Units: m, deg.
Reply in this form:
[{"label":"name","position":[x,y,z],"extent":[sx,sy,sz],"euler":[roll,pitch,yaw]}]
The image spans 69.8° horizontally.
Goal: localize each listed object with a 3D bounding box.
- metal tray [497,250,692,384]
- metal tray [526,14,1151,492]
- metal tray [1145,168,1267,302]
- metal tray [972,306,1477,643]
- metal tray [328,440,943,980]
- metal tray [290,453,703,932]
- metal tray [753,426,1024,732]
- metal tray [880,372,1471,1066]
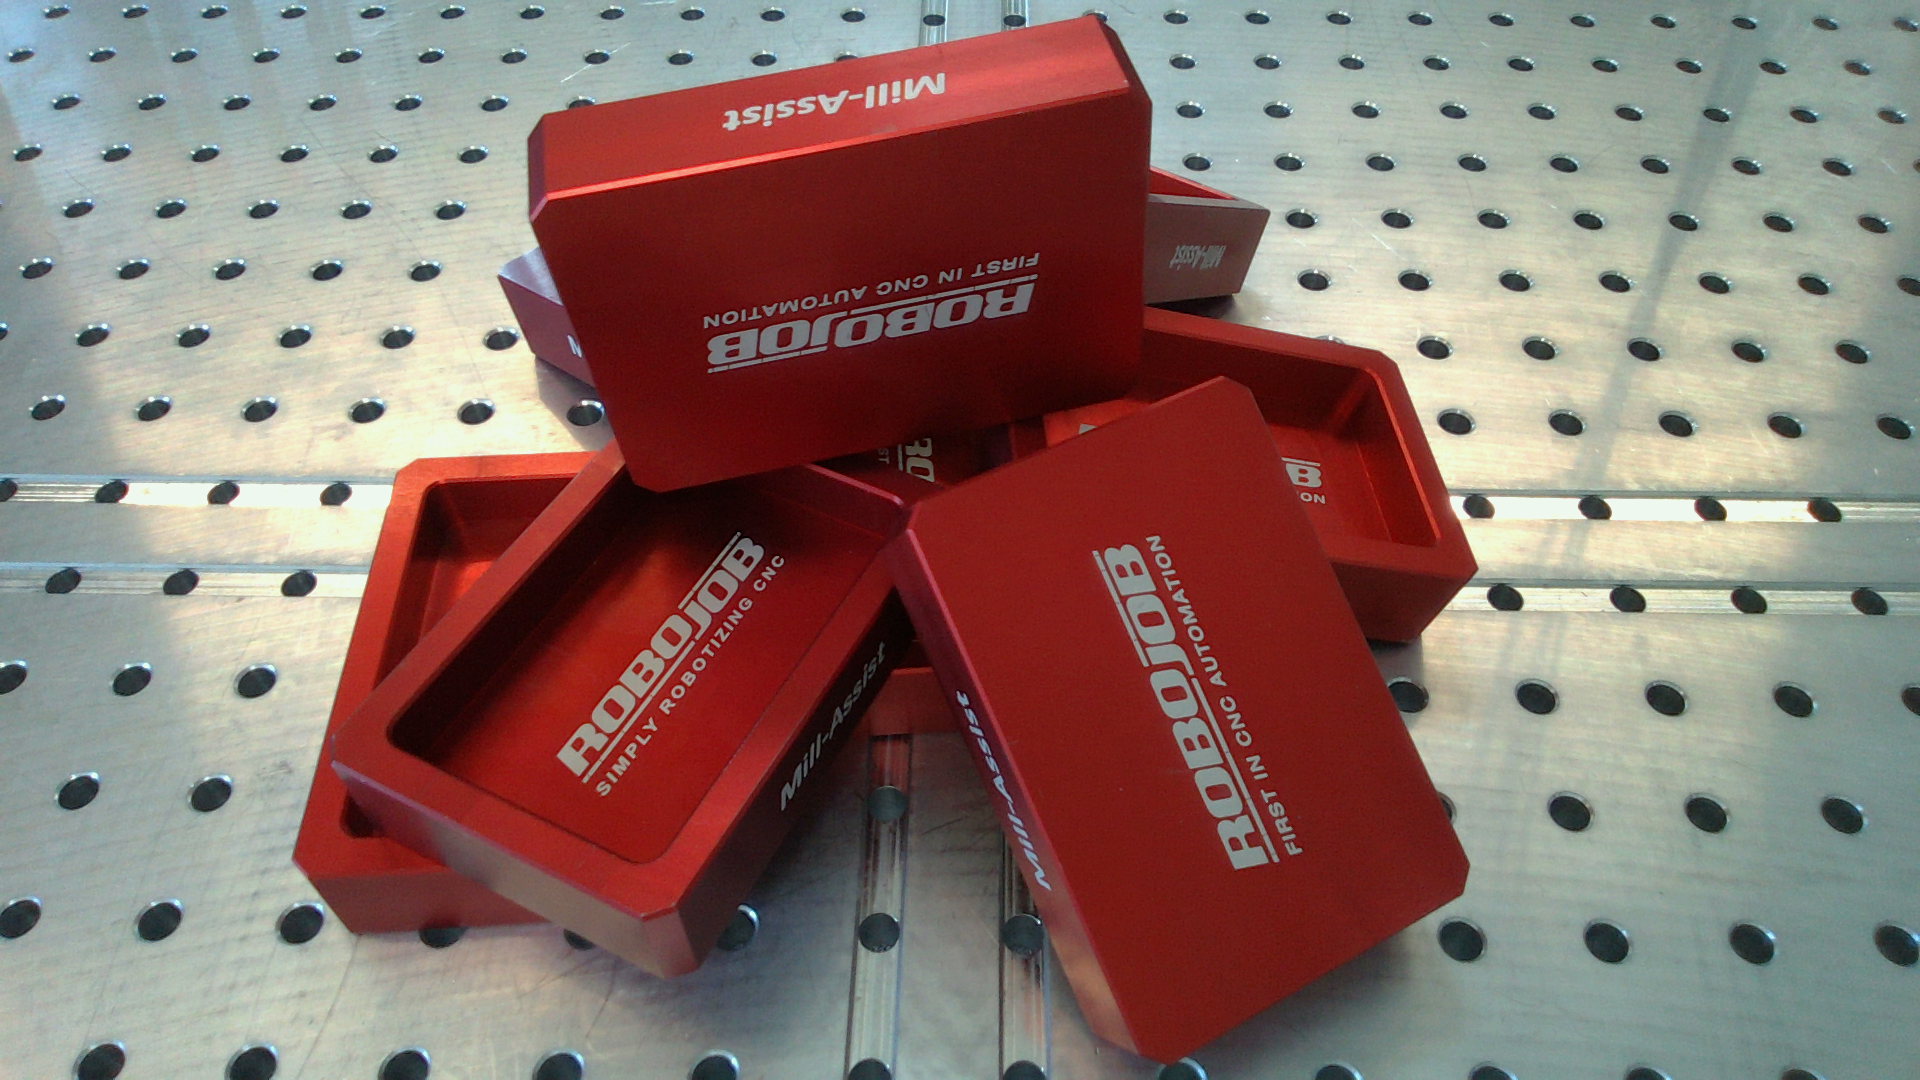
[{"label":"metal tray","position":[-0.074,-0.077,0.435],"extent":[0.090,0.030,0.130],"euler":[-38,44,-27]},{"label":"metal tray","position":[-0.023,-0.063,0.321],"extent":[0.130,0.090,0.030],"euler":[-12,51,-4]},{"label":"metal tray","position":[0.035,-0.106,0.437],"extent":[0.090,0.030,0.130],"euler":[27,22,21]},{"label":"metal tray","position":[0.070,-0.022,0.386],"extent":[0.130,0.030,0.090],"euler":[8,48,-16]},{"label":"metal tray","position":[-0.069,0.026,0.329],"extent":[0.090,0.030,0.130],"euler":[21,53,17]},{"label":"metal tray","position":[-0.111,0.033,0.363],"extent":[0.090,0.030,0.130],"euler":[-3,49,-3]},{"label":"metal tray","position":[-0.015,-0.007,0.397],"extent":[0.090,0.030,0.130],"euler":[-2,48,-4]},{"label":"metal tray","position":[0.049,0.038,0.316],"extent":[0.090,0.030,0.130],"euler":[-23,87,-18]}]
